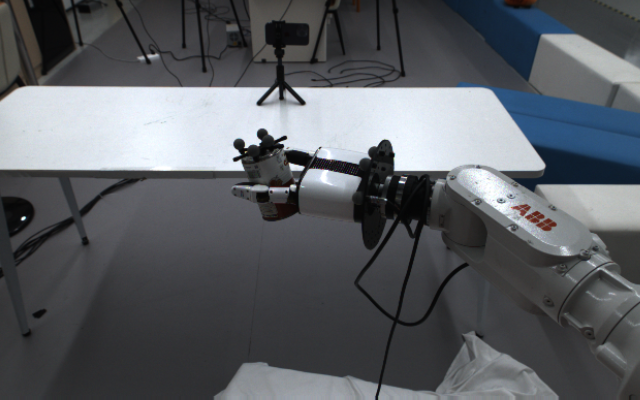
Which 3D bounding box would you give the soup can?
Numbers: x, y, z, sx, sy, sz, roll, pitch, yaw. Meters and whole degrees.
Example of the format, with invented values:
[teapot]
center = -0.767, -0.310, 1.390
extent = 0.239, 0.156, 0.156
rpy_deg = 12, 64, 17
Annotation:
[soup can]
center = -0.072, -0.026, 0.740
extent = 0.067, 0.101, 0.067
rpy_deg = -16, 23, 7
